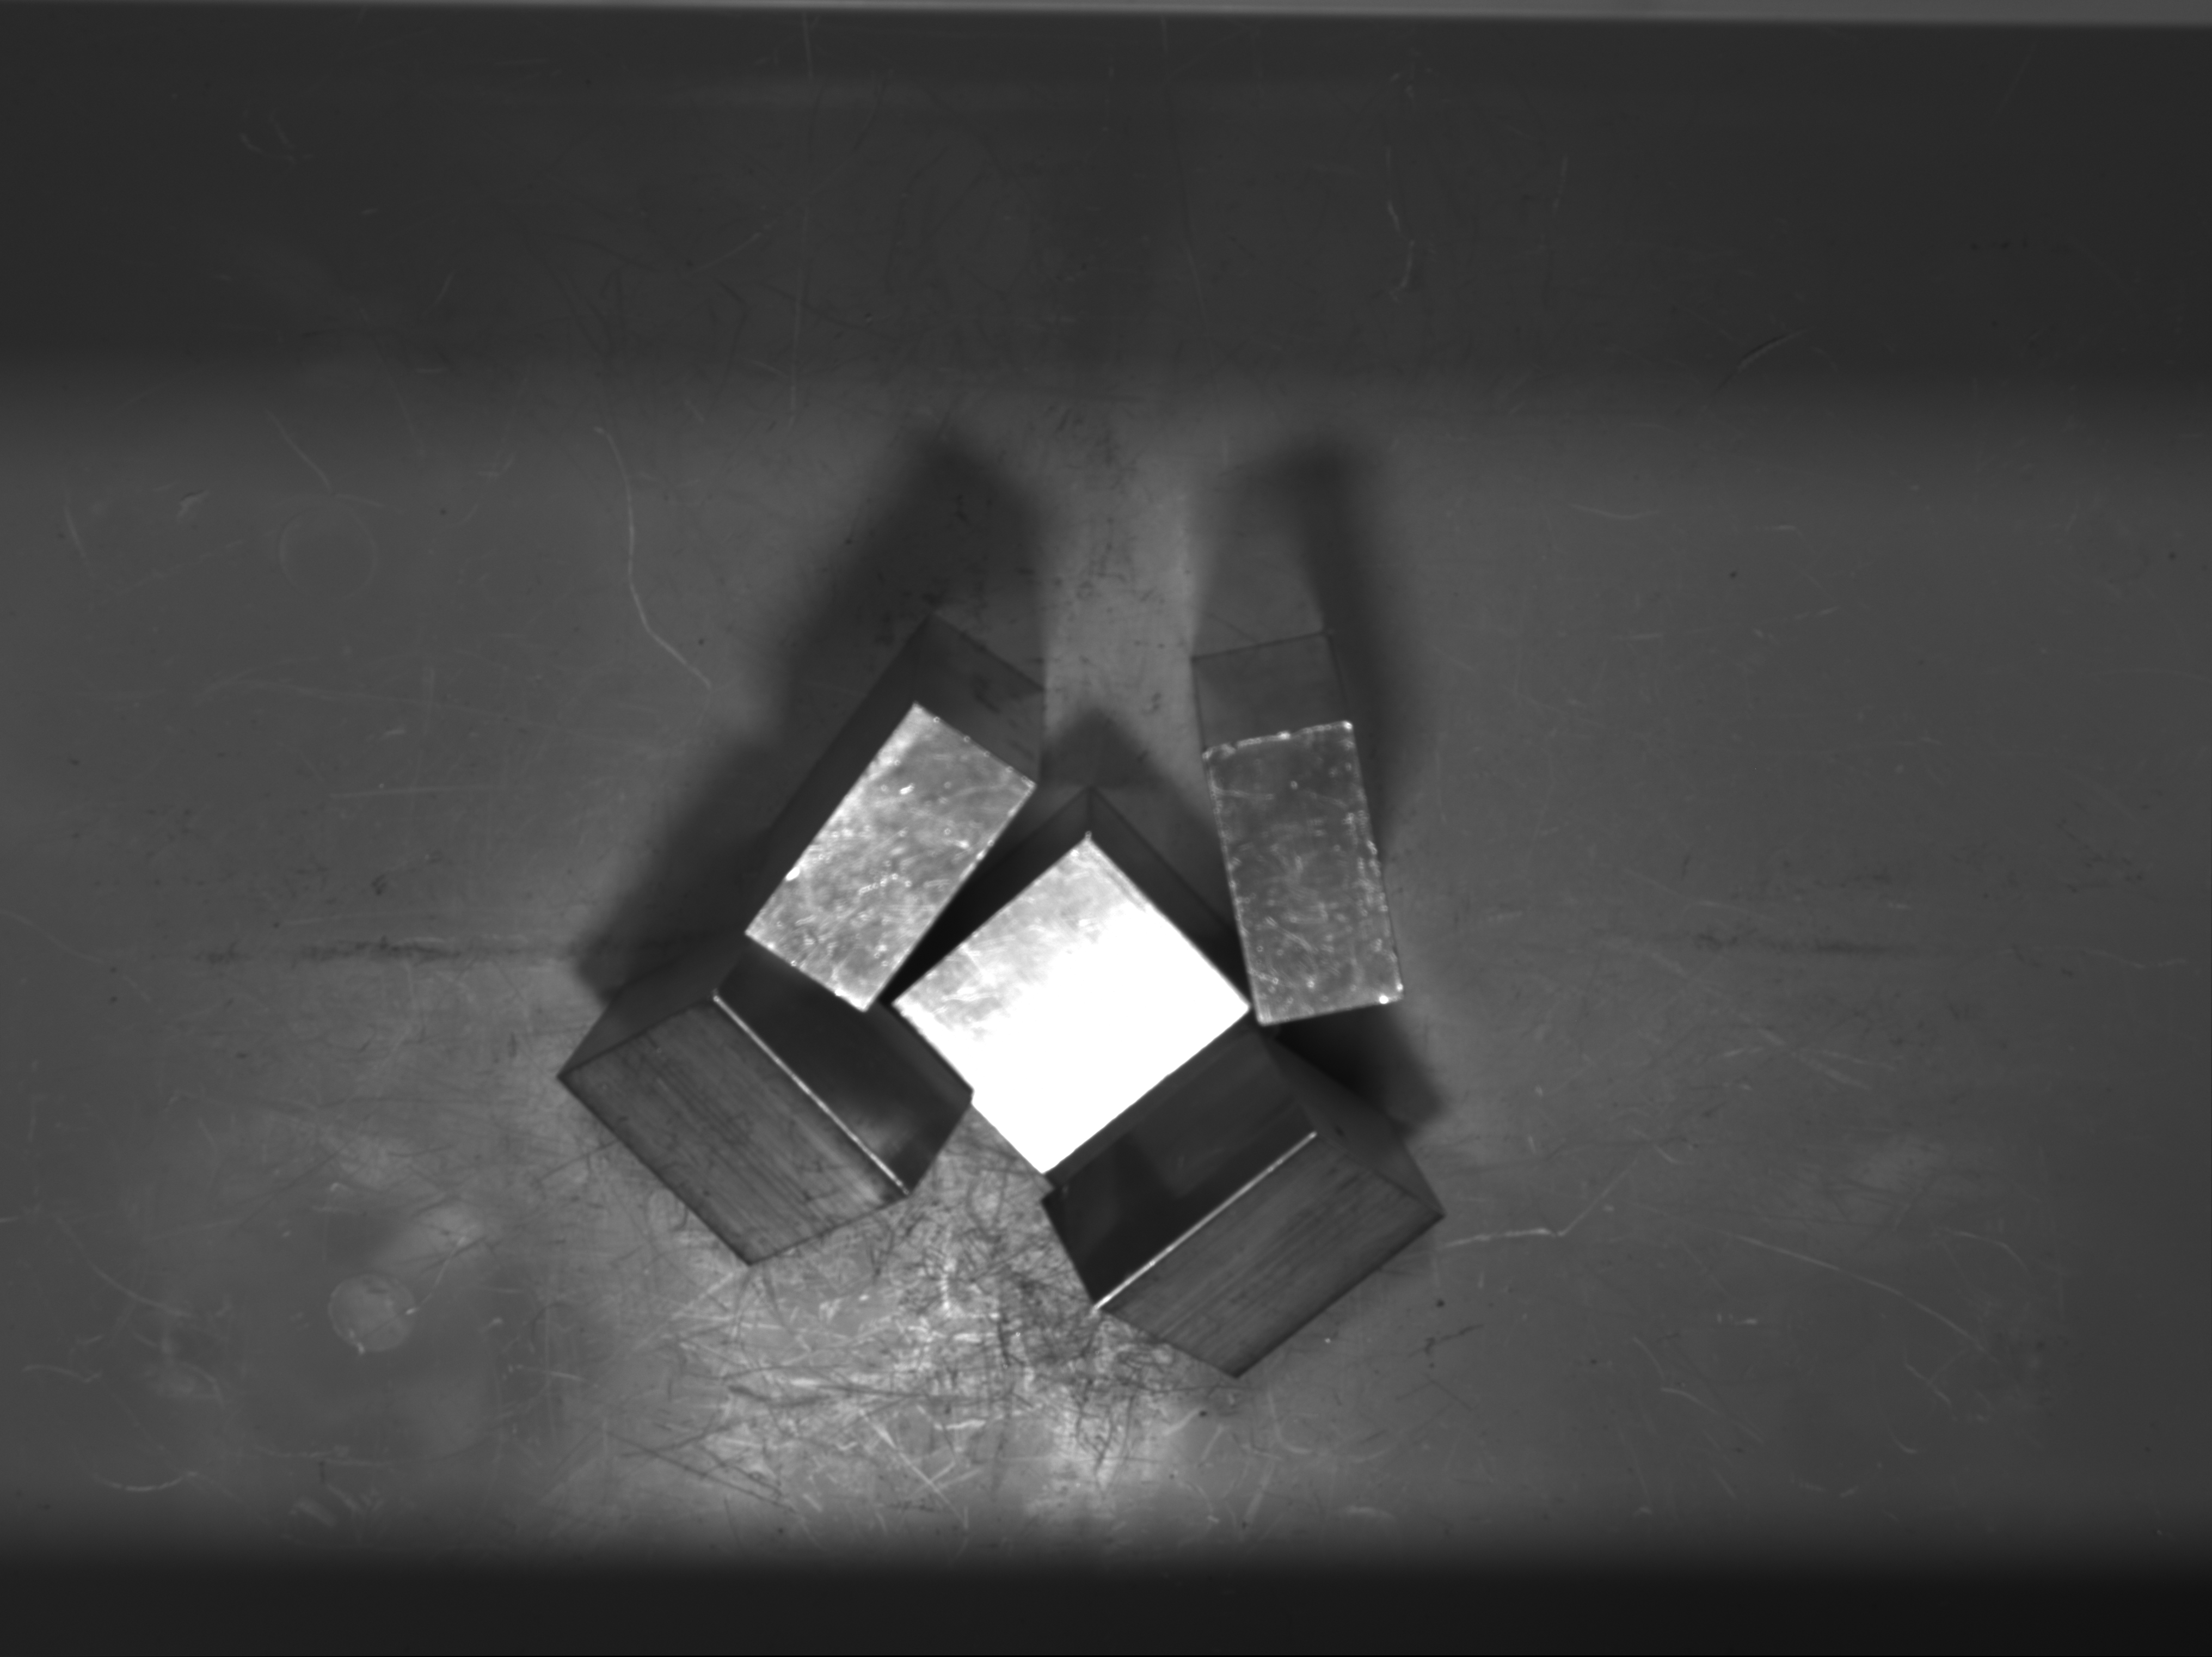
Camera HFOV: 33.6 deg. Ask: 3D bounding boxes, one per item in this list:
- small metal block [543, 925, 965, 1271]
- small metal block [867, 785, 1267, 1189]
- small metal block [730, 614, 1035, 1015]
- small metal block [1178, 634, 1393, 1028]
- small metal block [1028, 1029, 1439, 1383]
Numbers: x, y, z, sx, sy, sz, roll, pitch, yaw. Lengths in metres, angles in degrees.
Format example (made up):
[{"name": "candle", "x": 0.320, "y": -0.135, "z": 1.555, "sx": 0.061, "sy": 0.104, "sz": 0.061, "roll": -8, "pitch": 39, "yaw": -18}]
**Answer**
[{"name": "small metal block", "x": -0.062, "y": 0.046, "z": 0.646, "sx": 0.050, "sy": 0.025, "sz": 0.050, "roll": 47, "pitch": 136, "yaw": -15}, {"name": "small metal block", "x": -0.007, "y": 0.030, "z": 0.652, "sx": 0.050, "sy": 0.025, "sz": 0.050, "roll": -40, "pitch": 106, "yaw": 13}, {"name": "small metal block", "x": -0.037, "y": -0.003, "z": 0.626, "sx": 0.025, "sy": 0.050, "sz": 0.050, "roll": 35, "pitch": 106, "yaw": -12}, {"name": "small metal block", "x": 0.030, "y": 0.000, "z": 0.628, "sx": 0.025, "sy": 0.050, "sz": 0.050, "roll": -11, "pitch": 109, "yaw": 2}, {"name": "small metal block", "x": 0.023, "y": 0.068, "z": 0.653, "sx": 0.050, "sy": 0.025, "sz": 0.050, "roll": -39, "pitch": 142, "yaw": 12}]
